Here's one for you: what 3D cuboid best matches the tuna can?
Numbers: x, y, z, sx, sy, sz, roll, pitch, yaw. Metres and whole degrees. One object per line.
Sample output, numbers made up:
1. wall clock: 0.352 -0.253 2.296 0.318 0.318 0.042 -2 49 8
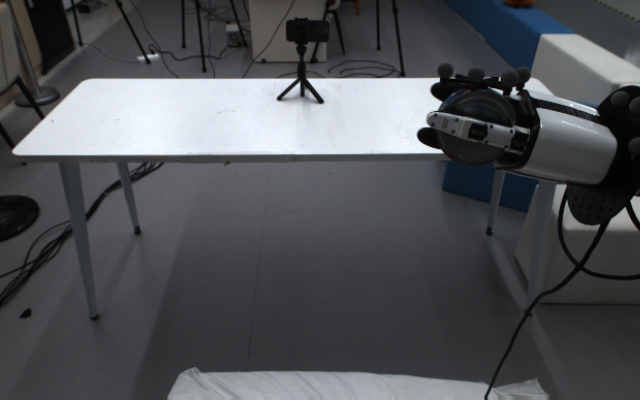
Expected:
1. tuna can: 0.175 -0.085 0.547 0.085 0.085 0.034 7 23 7
